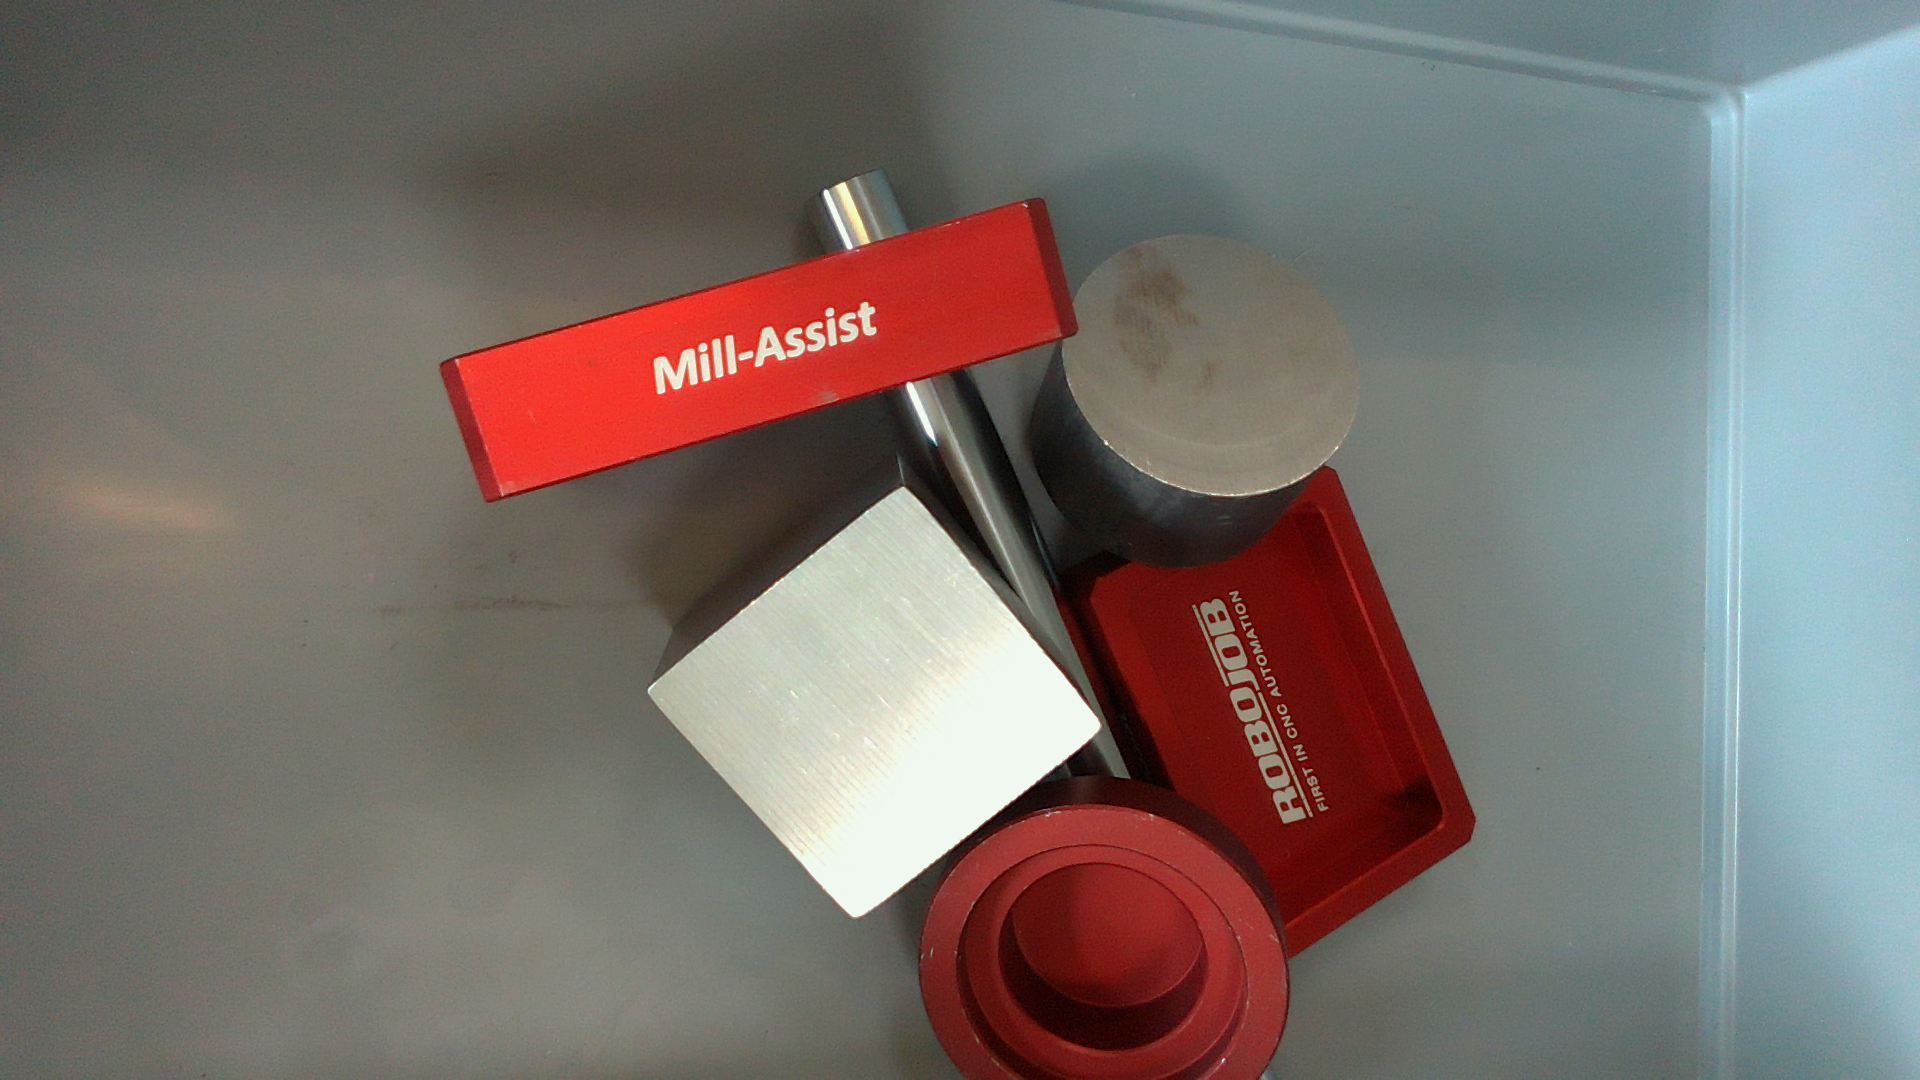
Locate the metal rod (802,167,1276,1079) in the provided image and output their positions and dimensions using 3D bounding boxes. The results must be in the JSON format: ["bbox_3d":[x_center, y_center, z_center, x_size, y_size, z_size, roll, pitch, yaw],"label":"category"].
[{"bbox_3d":[0.027,0.038,0.402,0.025,0.025,0.300,-27,99,-18],"label":"metal rod"}]

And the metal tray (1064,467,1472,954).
[{"bbox_3d":[0.094,0.052,0.424,0.090,0.030,0.130,-26,99,-18],"label":"metal tray"}]

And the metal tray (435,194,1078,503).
[{"bbox_3d":[-0.045,-0.045,0.326,0.130,0.090,0.030,-17,98,-5],"label":"metal tray"}]

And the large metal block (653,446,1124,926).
[{"bbox_3d":[-0.018,0.035,0.353,0.080,0.050,0.080,-39,104,3],"label":"large metal block"}]

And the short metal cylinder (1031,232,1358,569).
[{"bbox_3d":[0.064,-0.038,0.386,0.080,0.050,0.080,3,66,-7],"label":"short metal cylinder"}]

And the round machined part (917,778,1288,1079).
[{"bbox_3d":[0.040,0.111,0.383,0.098,0.042,0.098,2,103,9],"label":"round machined part"}]
